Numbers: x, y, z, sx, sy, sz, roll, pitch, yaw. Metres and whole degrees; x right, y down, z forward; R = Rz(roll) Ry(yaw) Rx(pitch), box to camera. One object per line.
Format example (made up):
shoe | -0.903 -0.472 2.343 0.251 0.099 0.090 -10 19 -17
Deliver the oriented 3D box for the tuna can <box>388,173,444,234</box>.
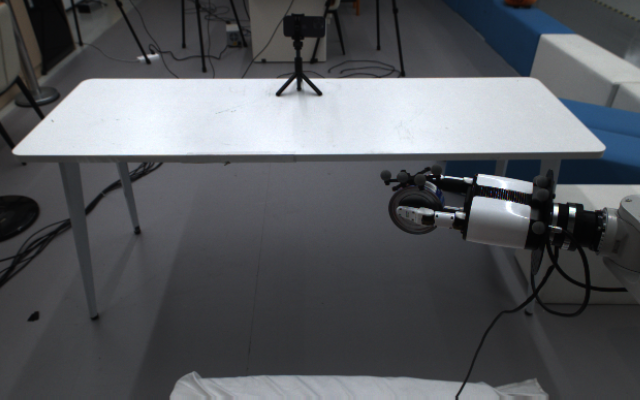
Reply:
tuna can | 0.155 0.010 0.771 0.085 0.085 0.034 13 27 16
